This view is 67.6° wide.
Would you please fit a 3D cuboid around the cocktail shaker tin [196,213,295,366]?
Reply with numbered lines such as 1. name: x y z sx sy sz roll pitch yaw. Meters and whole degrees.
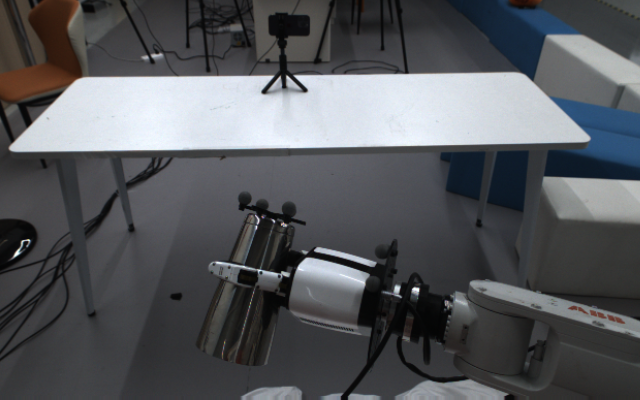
1. cocktail shaker tin: -0.087 0.108 0.606 0.093 0.170 0.093 16 -7 2
